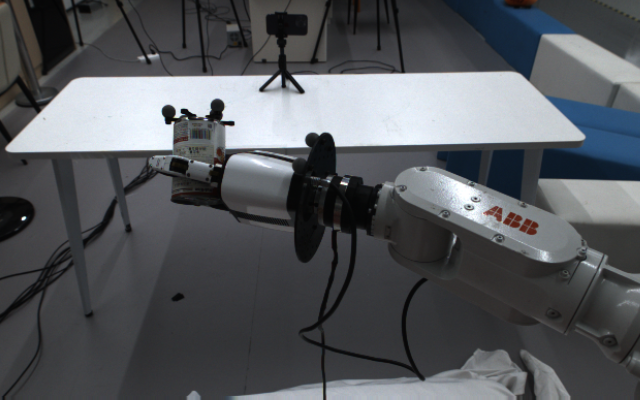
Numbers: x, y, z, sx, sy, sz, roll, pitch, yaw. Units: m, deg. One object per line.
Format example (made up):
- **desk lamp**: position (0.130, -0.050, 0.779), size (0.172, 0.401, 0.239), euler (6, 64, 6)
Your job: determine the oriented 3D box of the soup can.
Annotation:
- **soup can**: position (-0.154, -0.047, 0.619), size (0.067, 0.101, 0.067), euler (-1, -9, 0)
